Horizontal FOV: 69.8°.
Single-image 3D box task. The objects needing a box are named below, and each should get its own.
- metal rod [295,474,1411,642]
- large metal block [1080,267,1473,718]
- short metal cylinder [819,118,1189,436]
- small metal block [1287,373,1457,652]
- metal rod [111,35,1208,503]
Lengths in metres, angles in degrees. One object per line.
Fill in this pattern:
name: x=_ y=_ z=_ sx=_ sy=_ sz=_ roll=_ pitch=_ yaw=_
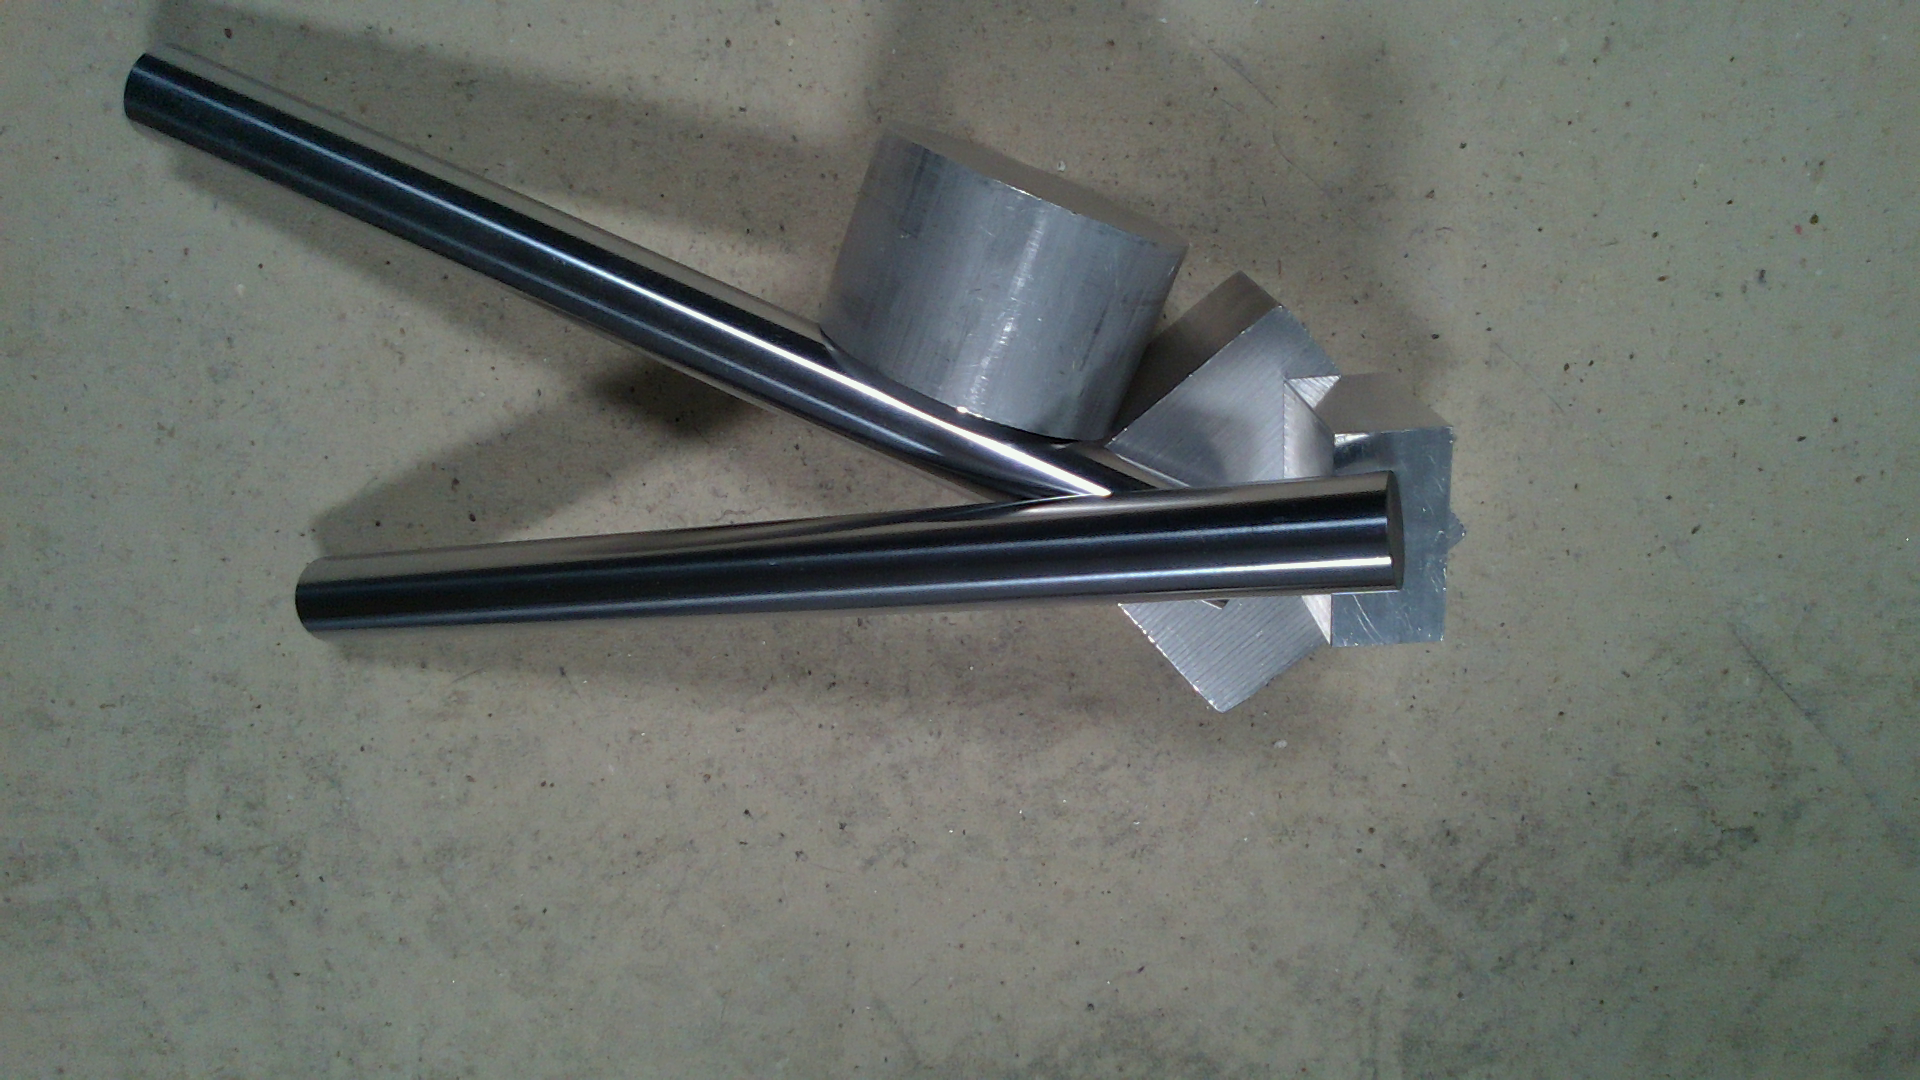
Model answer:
metal rod: x=-0.046 y=0.008 z=0.340 sx=0.299 sy=0.025 sz=0.025 roll=-4 pitch=112 yaw=24
large metal block: x=0.075 y=-0.014 z=0.374 sx=0.080 sy=0.050 sz=0.080 roll=-39 pitch=105 yaw=14
short metal cylinder: x=0.010 y=-0.066 z=0.342 sx=0.080 sy=0.080 sz=0.050 roll=20 pitch=109 yaw=-7
small metal block: x=0.094 y=-0.008 z=0.322 sx=0.025 sy=0.050 sz=0.050 roll=-4 pitch=110 yaw=2
metal rod: x=-0.070 y=-0.057 z=0.342 sx=0.300 sy=0.025 sz=0.025 roll=24 pitch=109 yaw=4
